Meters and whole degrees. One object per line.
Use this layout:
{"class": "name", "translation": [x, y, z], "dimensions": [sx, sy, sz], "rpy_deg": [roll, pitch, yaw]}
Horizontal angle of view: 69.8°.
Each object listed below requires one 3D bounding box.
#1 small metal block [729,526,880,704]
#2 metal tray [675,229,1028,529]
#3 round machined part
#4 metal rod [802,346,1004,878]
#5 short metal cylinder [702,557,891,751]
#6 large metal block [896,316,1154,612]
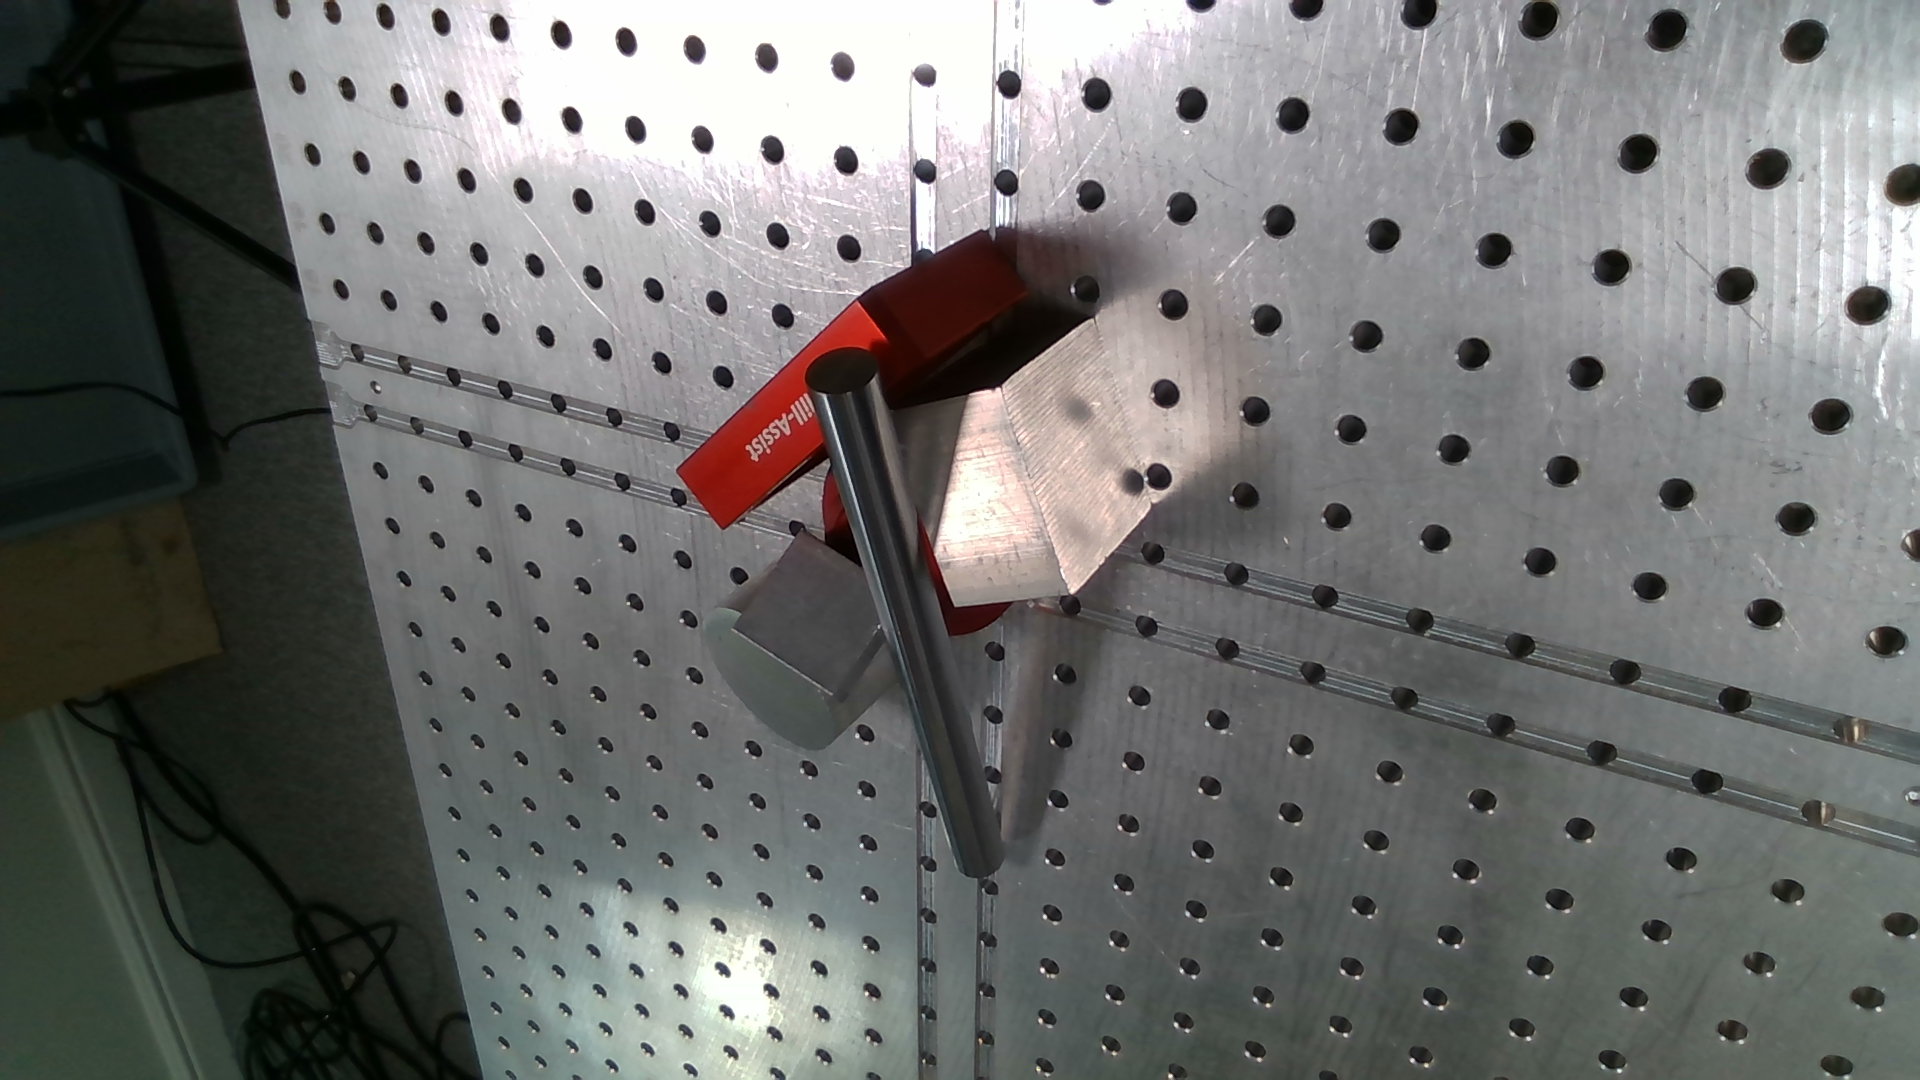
{"class": "small metal block", "translation": [-0.057, 0.031, 0.562], "dimensions": [0.050, 0.050, 0.025], "rpy_deg": [32, 170, 11]}
{"class": "metal tray", "translation": [-0.043, -0.061, 0.533], "dimensions": [0.130, 0.090, 0.030], "rpy_deg": [-35, 94, 39]}
{"class": "round machined part", "translation": [-0.017, -0.003, 0.584], "dimensions": [0.098, 0.042, 0.098], "rpy_deg": [14, 122, 25]}
{"class": "metal rod", "translation": [-0.015, 0.048, 0.557], "dimensions": [0.025, 0.025, 0.301], "rpy_deg": [14, 141, 25]}
{"class": "short metal cylinder", "translation": [-0.070, 0.048, 0.620], "dimensions": [0.080, 0.050, 0.080], "rpy_deg": [31, 145, 25]}
{"class": "large metal block", "translation": [0.024, -0.029, 0.515], "dimensions": [0.050, 0.080, 0.080], "rpy_deg": [-8, 111, 34]}
